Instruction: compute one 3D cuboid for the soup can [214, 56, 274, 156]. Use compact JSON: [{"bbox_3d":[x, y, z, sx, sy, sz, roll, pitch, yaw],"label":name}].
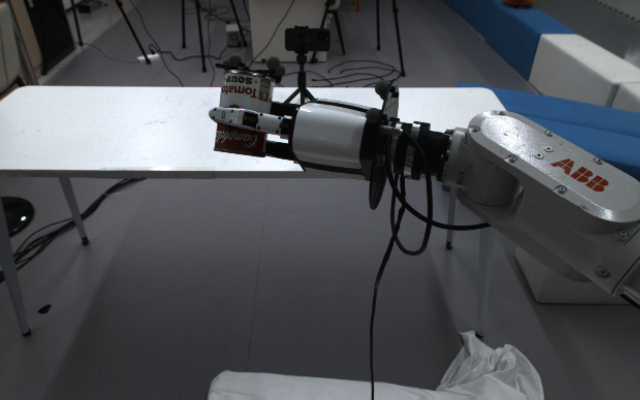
[{"bbox_3d":[-0.098,-0.110,0.630,0.067,0.101,0.067,7,4,0],"label":"soup can"}]
